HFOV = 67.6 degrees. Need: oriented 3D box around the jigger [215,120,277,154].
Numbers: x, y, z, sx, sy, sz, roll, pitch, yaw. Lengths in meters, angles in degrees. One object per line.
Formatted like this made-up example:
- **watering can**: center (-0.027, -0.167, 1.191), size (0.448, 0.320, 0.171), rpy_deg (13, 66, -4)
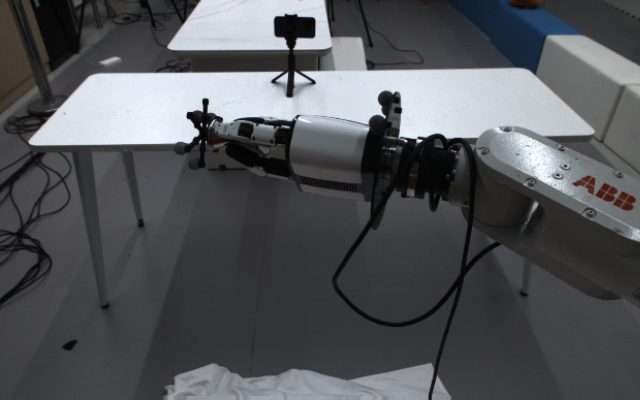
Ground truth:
- **jigger**: center (-0.094, -0.082, 0.603), size (0.071, 0.043, 0.043), rpy_deg (8, 35, 15)
